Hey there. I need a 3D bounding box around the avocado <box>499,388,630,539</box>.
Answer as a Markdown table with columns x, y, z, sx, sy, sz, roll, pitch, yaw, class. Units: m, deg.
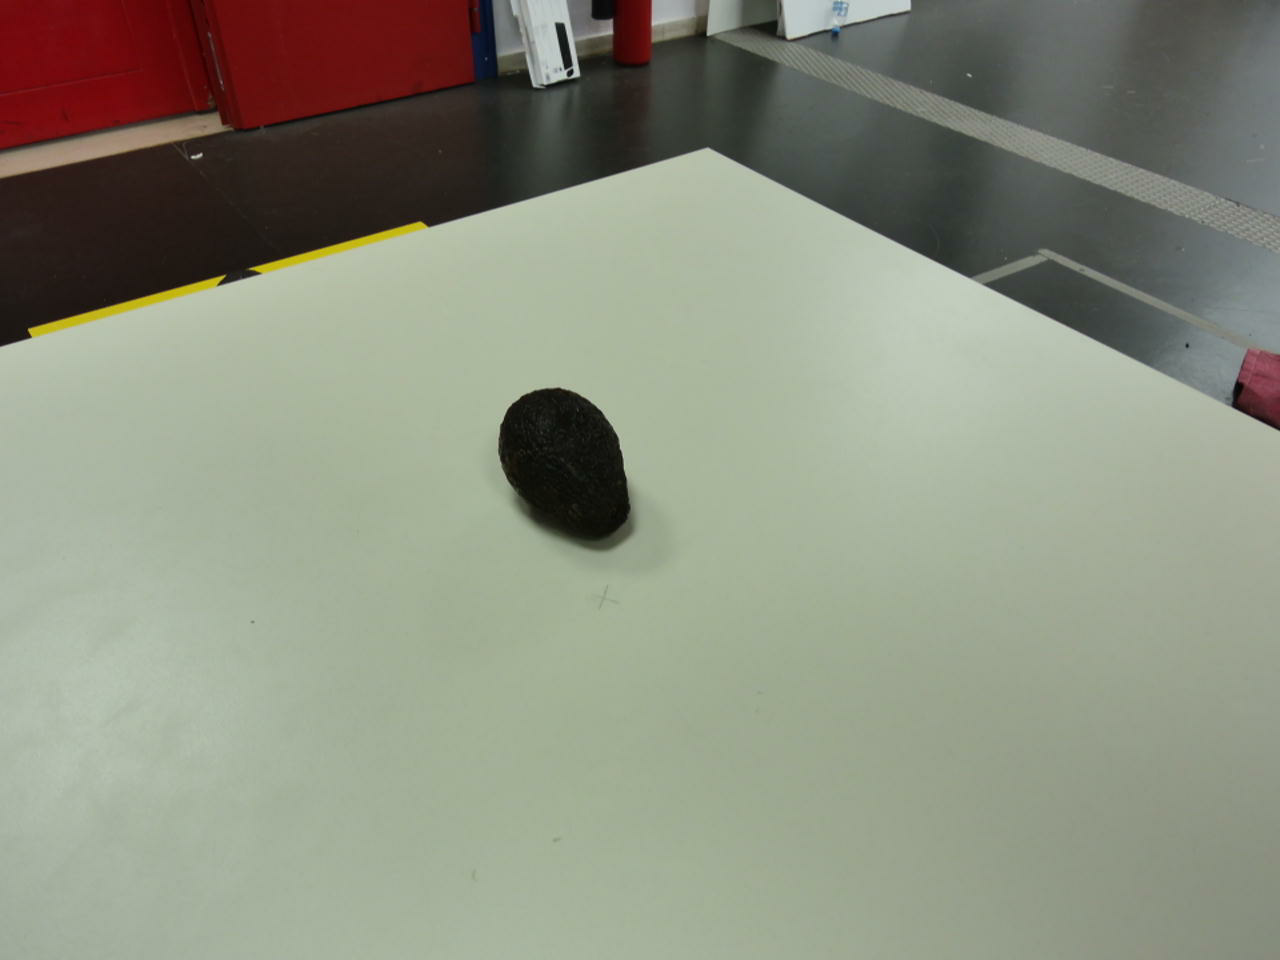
| x | y | z | sx | sy | sz | roll | pitch | yaw | class |
| --- | --- | --- | --- | --- | --- | --- | --- | --- | --- |
| -0.045 | -0.012 | 0.575 | 0.070 | 0.069 | 0.090 | -6 | 39 | -10 | avocado |
